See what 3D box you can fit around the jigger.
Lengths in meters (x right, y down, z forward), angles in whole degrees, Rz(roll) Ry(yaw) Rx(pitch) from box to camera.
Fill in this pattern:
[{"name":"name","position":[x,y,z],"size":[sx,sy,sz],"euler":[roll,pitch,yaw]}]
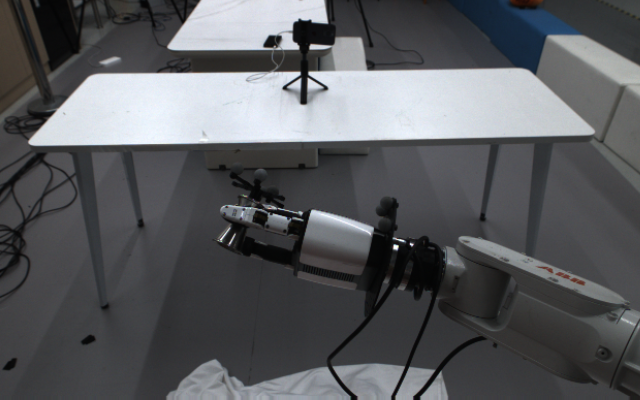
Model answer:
[{"name":"jigger","position":[-0.105,0.030,0.627],"size":[0.043,0.043,0.071],"euler":[20,72,23]}]
